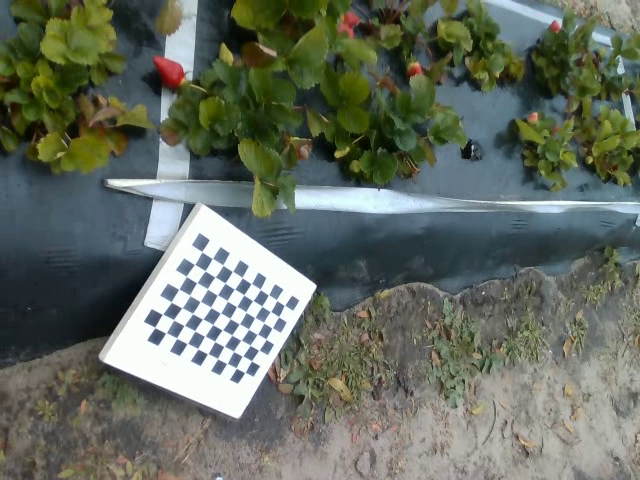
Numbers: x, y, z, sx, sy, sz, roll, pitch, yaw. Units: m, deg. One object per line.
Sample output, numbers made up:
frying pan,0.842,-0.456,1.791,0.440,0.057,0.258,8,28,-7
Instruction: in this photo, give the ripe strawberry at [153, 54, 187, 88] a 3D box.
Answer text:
ripe strawberry,-0.209,-0.235,0.811,0.051,0.042,0.037,33,-5,-42
